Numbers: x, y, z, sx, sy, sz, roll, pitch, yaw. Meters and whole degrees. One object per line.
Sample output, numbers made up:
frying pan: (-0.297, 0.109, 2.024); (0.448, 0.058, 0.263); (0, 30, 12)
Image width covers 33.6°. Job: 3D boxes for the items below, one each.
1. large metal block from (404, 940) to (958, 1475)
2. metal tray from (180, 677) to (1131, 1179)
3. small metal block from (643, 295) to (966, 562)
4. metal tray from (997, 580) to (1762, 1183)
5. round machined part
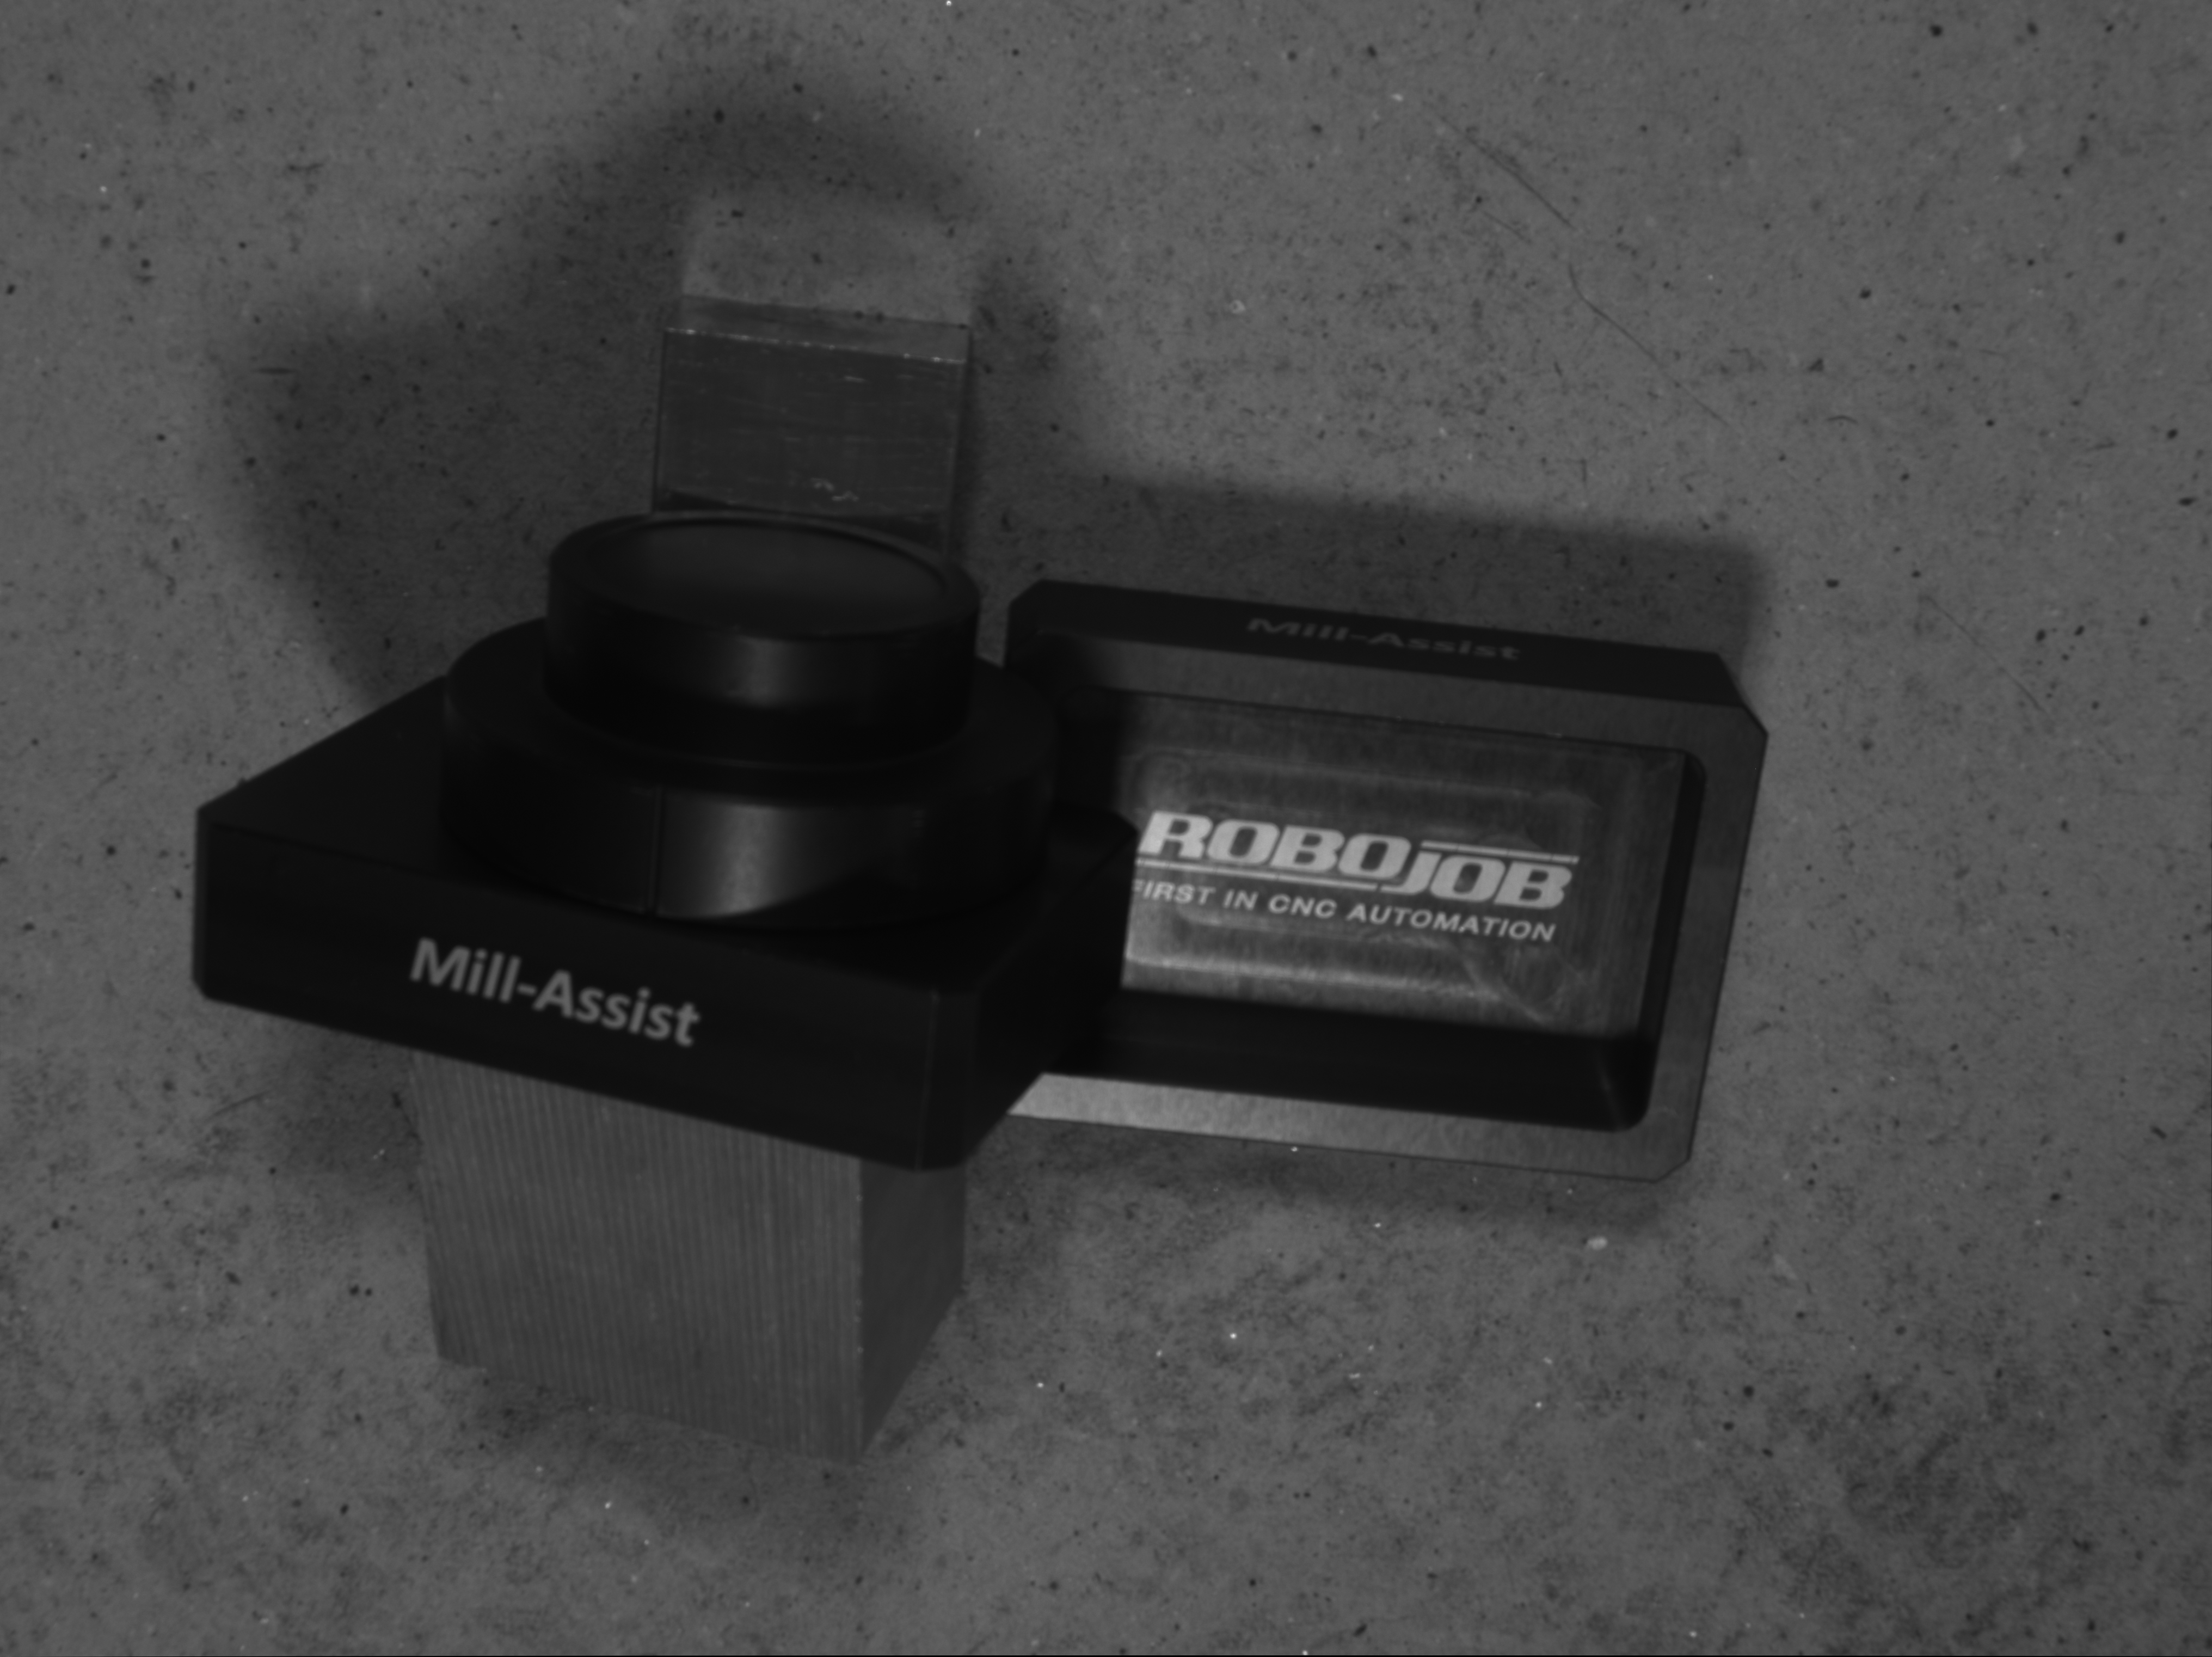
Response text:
large metal block: (-0.071, 0.055, 0.629); (0.080, 0.050, 0.080); (12, 124, 14)
metal tray: (-0.071, 0.012, 0.594); (0.130, 0.090, 0.030); (13, 111, 14)
small metal block: (-0.052, -0.061, 0.621); (0.050, 0.025, 0.050); (6, 110, -3)
metal tray: (0.042, 0.010, 0.645); (0.130, 0.030, 0.090); (6, 110, -3)
round machined part: (-0.057, -0.021, 0.585); (0.098, 0.098, 0.042); (6, 110, -3)
